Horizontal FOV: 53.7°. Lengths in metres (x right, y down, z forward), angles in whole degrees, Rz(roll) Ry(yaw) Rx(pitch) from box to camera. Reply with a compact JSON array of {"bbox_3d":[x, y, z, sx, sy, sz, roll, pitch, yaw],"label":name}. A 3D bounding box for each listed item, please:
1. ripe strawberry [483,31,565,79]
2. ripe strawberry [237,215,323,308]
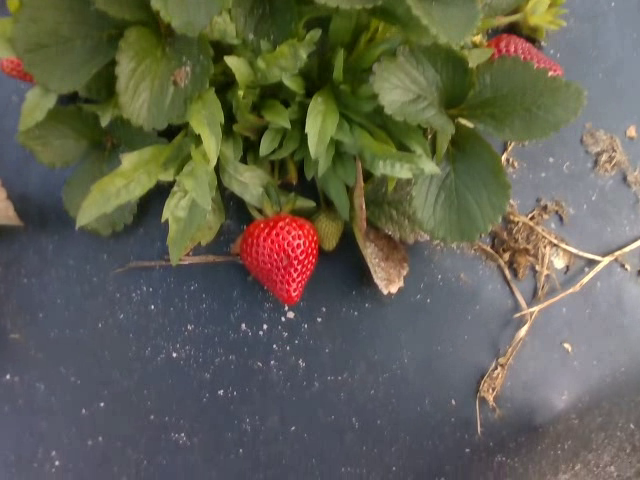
[{"bbox_3d":[0.106,-0.091,0.334,0.046,0.043,0.046,9,11,16],"label":"ripe strawberry"},{"bbox_3d":[-0.020,0.010,0.311,0.043,0.051,0.043,-11,-12,-10],"label":"ripe strawberry"}]
